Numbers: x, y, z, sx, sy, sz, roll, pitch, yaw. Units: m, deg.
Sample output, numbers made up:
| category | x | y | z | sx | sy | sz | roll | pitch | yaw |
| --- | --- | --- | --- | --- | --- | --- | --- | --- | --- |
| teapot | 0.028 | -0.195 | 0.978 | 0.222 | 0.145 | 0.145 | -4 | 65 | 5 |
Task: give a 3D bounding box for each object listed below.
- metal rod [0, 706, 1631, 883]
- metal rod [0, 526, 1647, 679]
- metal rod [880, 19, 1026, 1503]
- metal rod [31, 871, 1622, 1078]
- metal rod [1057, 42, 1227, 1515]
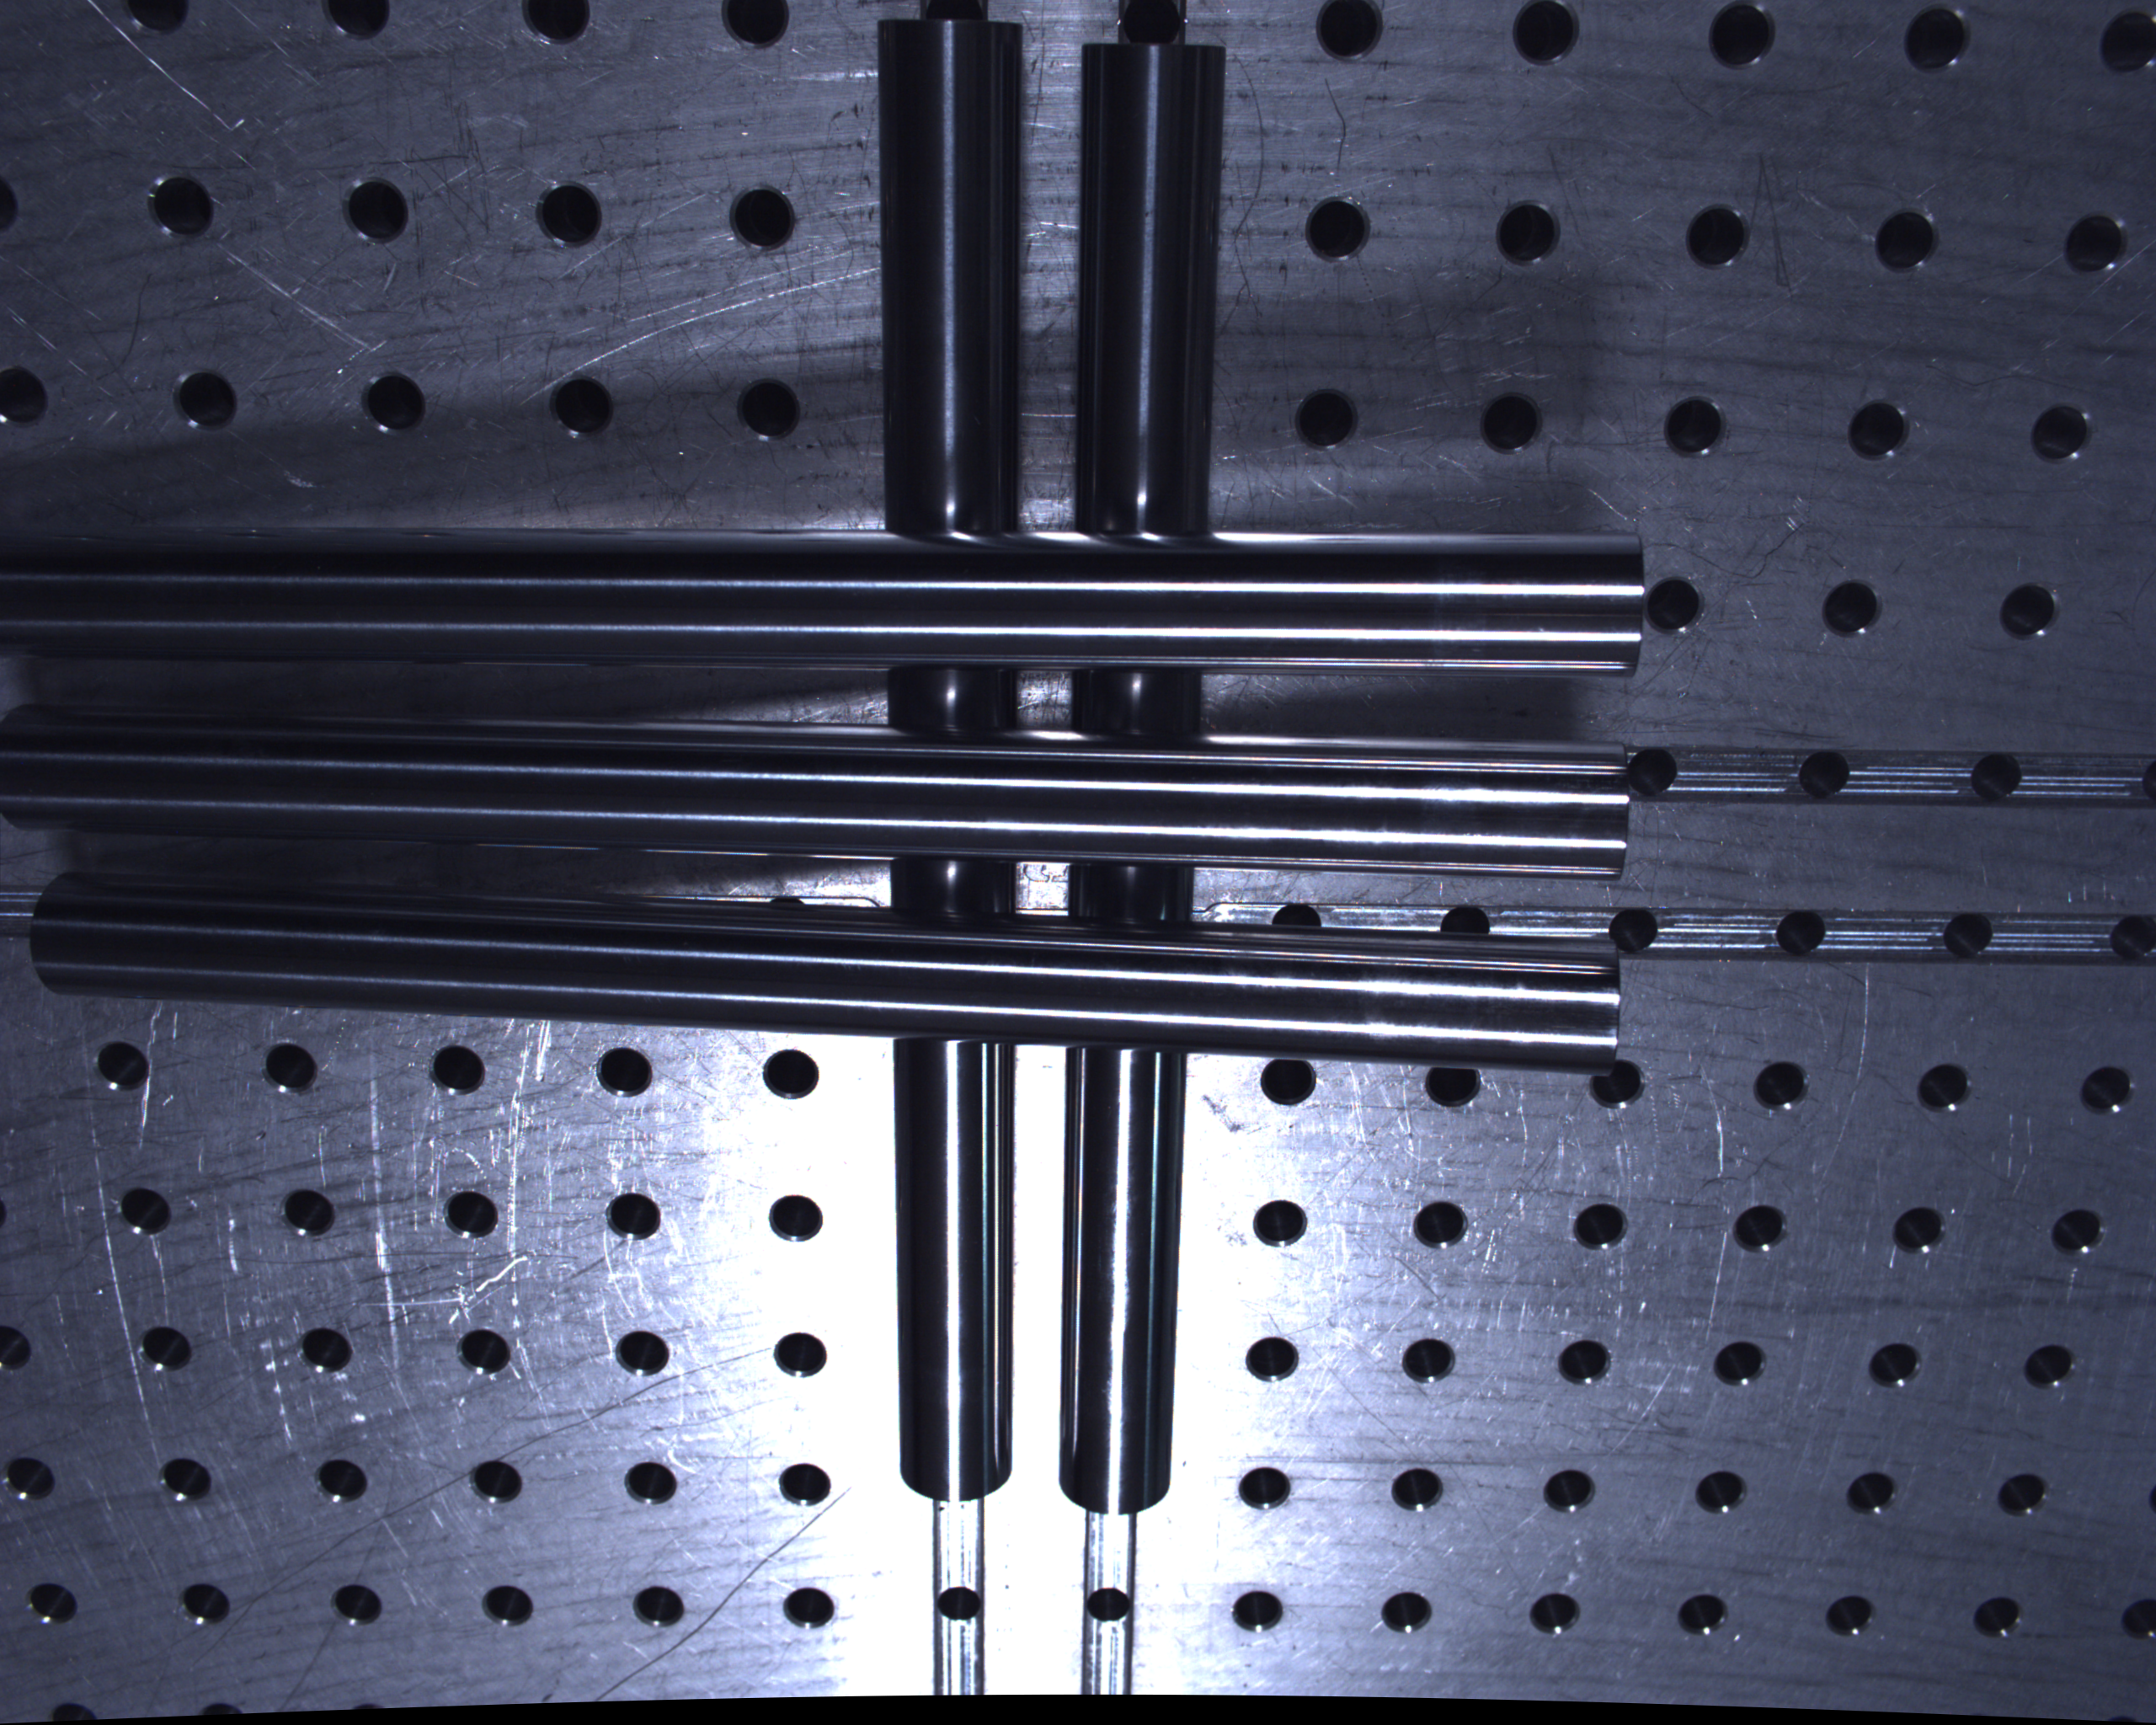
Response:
| category | x | y | z | sx | sy | sz | roll | pitch | yaw |
| --- | --- | --- | --- | --- | --- | --- | --- | --- | --- |
| metal rod | -0.054 | -0.013 | 0.386 | 0.302 | 0.025 | 0.025 | 2 | 110 | 7 |
| metal rod | -0.055 | -0.047 | 0.373 | 0.302 | 0.025 | 0.025 | 1 | 110 | 7 |
| metal rod | -0.024 | -0.005 | 0.411 | 0.025 | 0.025 | 0.298 | 1 | 110 | -1 |
| metal rod | -0.052 | 0.020 | 0.398 | 0.302 | 0.025 | 0.025 | 2 | 110 | 7 |
| metal rod | 0.011 | -0.002 | 0.413 | 0.025 | 0.025 | 0.298 | 1 | 110 | -1 |
